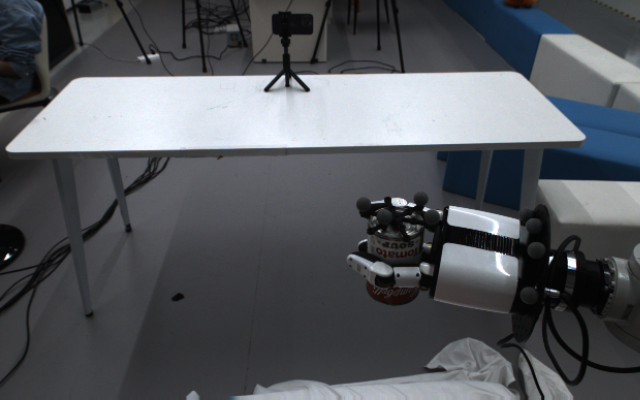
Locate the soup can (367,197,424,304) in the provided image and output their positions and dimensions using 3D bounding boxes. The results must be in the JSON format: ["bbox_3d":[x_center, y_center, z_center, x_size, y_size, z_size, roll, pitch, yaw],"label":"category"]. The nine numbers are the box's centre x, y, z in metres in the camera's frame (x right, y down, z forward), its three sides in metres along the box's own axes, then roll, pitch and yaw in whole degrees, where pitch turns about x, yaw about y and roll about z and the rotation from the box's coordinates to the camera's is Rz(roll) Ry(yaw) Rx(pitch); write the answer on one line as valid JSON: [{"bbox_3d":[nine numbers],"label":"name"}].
[{"bbox_3d":[0.093,0.067,0.589,0.067,0.101,0.067,-2,33,1],"label":"soup can"}]
